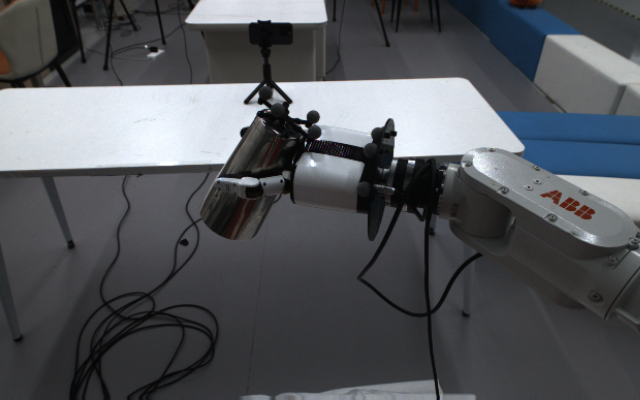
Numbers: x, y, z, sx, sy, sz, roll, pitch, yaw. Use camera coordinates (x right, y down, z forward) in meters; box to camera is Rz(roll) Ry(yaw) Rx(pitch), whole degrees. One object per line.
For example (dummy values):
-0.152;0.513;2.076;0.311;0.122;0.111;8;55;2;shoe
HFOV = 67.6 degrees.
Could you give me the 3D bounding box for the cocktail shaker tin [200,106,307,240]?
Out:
-0.089;-0.039;0.659;0.093;0.170;0.093;26;32;-17;cocktail shaker tin
